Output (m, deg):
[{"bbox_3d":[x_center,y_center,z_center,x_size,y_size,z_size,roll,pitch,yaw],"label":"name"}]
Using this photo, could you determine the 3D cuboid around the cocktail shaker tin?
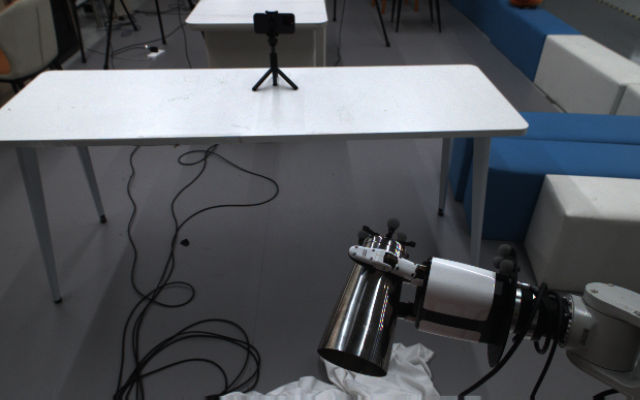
[{"bbox_3d":[0.066,0.134,0.653,0.093,0.093,0.170,14,59,16],"label":"cocktail shaker tin"}]
